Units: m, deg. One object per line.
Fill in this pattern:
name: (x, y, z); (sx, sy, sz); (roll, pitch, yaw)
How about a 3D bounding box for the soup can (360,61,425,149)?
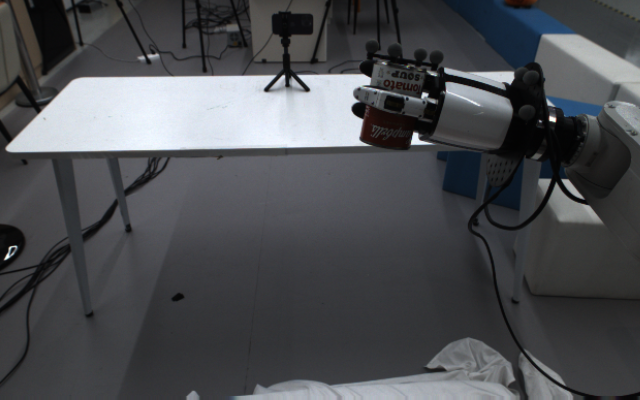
soup can: (0.093, -0.122, 0.615); (0.067, 0.101, 0.067); (9, 19, -3)
